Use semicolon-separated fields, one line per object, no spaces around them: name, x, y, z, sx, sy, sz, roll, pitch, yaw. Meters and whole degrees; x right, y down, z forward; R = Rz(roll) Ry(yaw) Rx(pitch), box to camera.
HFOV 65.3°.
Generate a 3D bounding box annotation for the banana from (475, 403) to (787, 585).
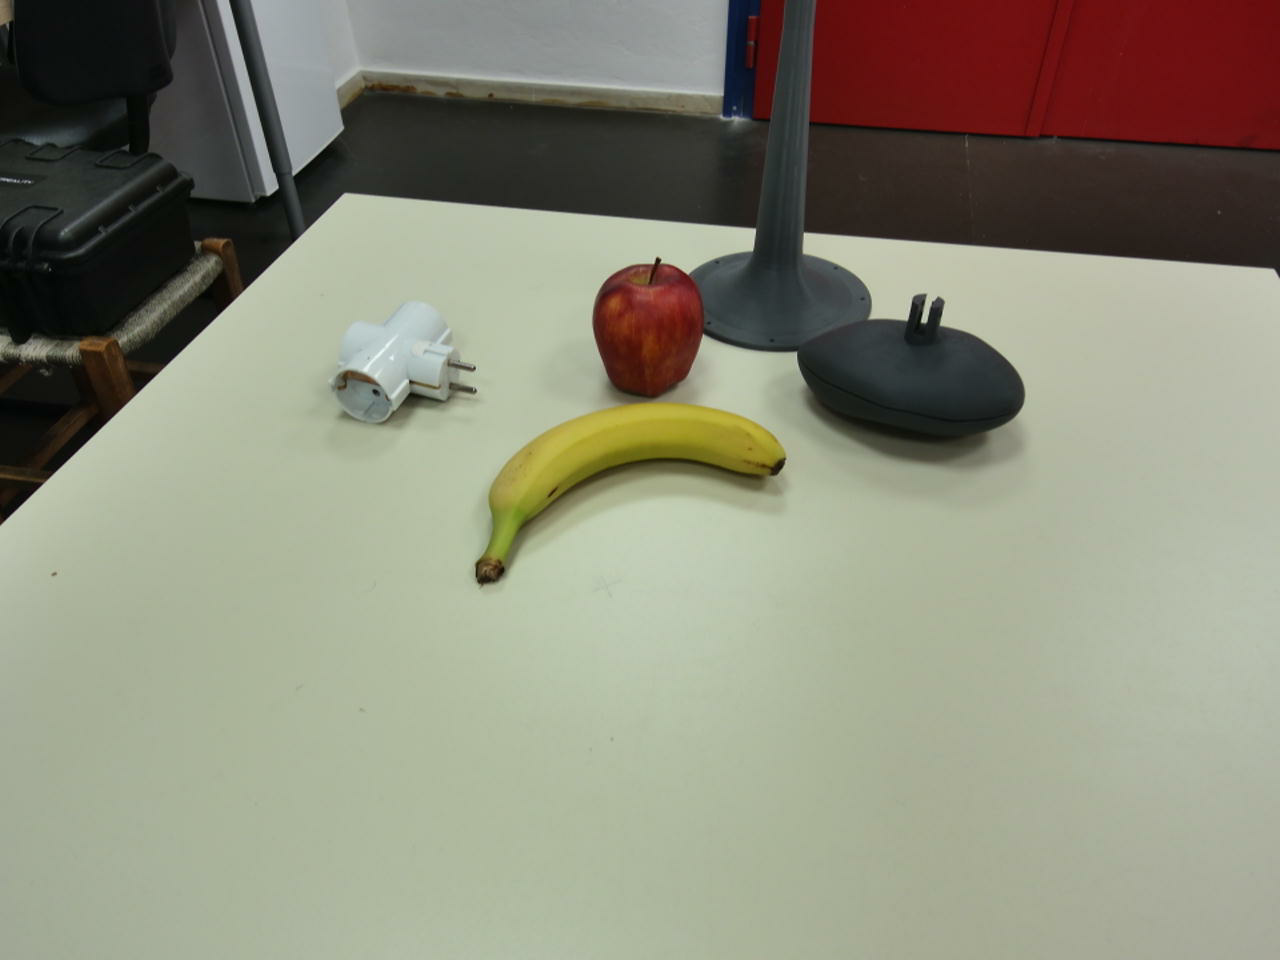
banana;-0.017;-0.007;0.601;0.196;0.041;0.094;-16;41;-18
